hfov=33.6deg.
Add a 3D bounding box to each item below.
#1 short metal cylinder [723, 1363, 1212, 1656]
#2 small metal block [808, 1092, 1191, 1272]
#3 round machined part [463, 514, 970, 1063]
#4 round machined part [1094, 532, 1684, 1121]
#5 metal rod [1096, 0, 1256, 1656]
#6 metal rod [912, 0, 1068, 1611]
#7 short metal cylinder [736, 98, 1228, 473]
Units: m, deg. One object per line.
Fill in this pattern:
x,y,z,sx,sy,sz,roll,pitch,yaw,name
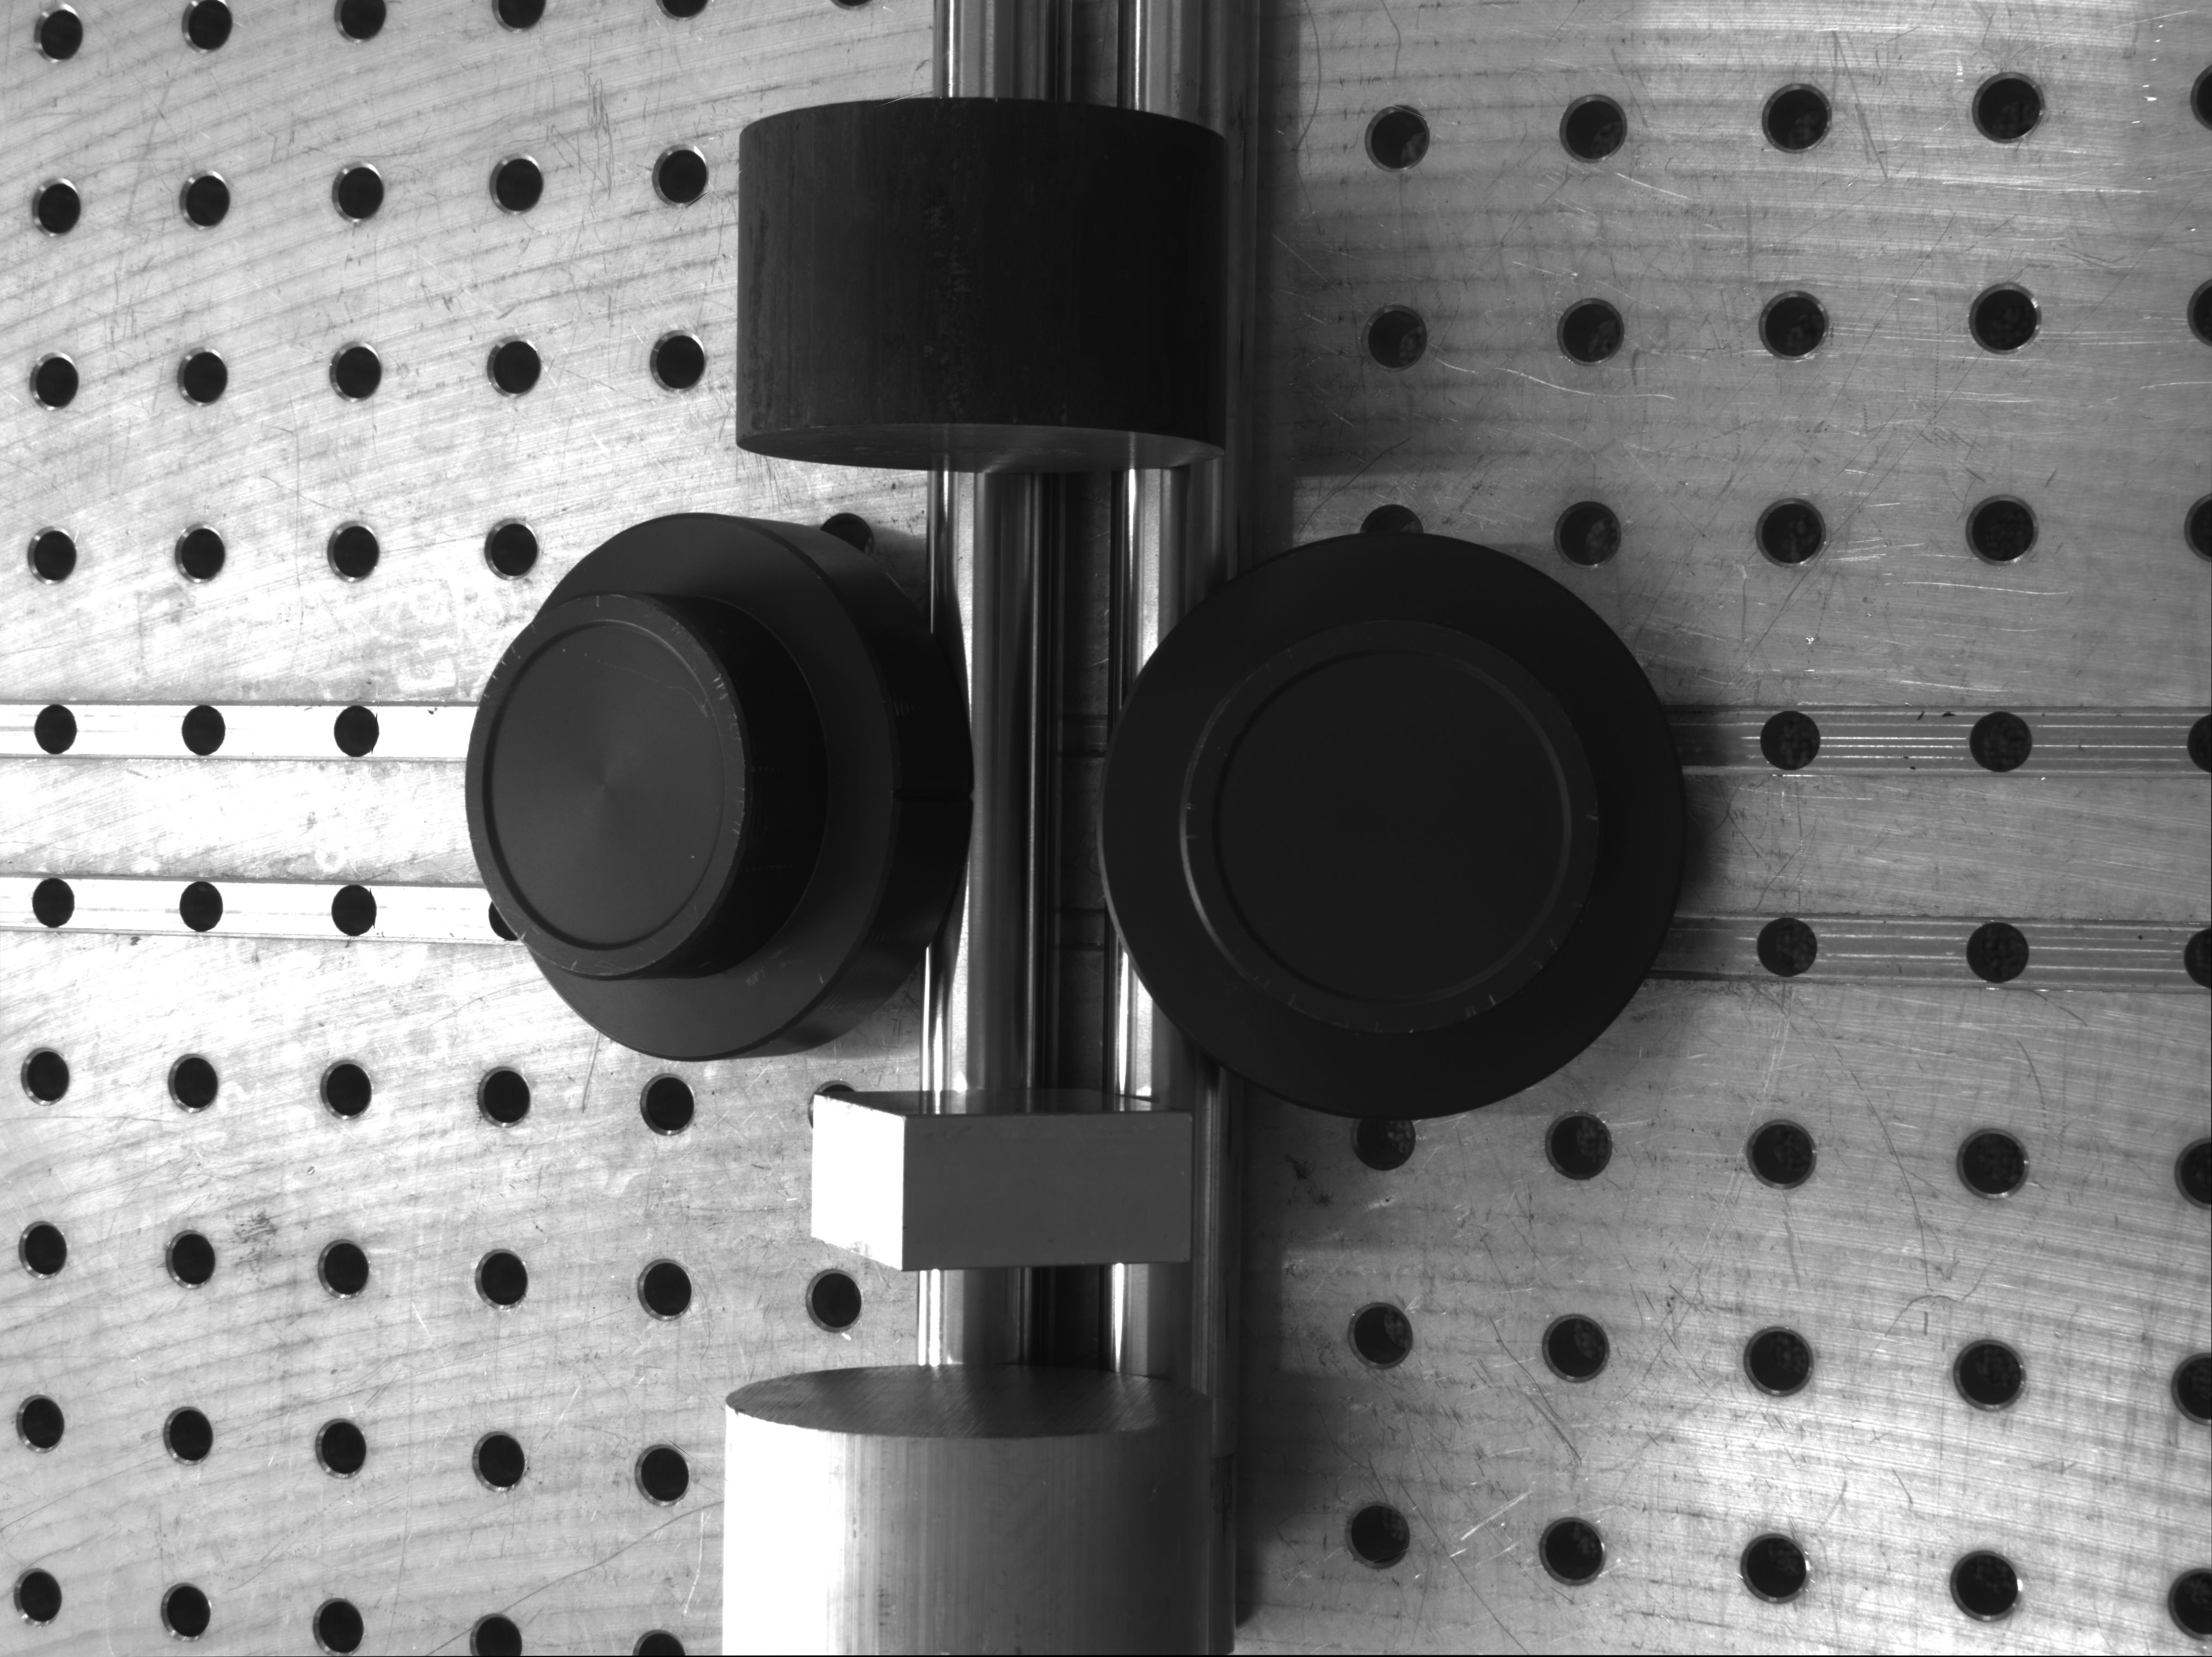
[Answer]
-0.023,0.119,0.604,0.080,0.080,0.050,1,90,20,short metal cylinder
-0.019,0.059,0.617,0.050,0.050,0.025,1,90,-22,small metal block
-0.076,-0.007,0.654,0.098,0.042,0.098,0,90,34,round machined part
0.047,0.000,0.608,0.098,0.042,0.098,0,90,5,round machined part
0.012,-0.006,0.643,0.025,0.025,0.300,1,90,20,metal rod
-0.021,-0.004,0.655,0.025,0.025,0.300,1,90,20,metal rod
-0.020,-0.087,0.603,0.080,0.080,0.050,1,90,20,short metal cylinder
